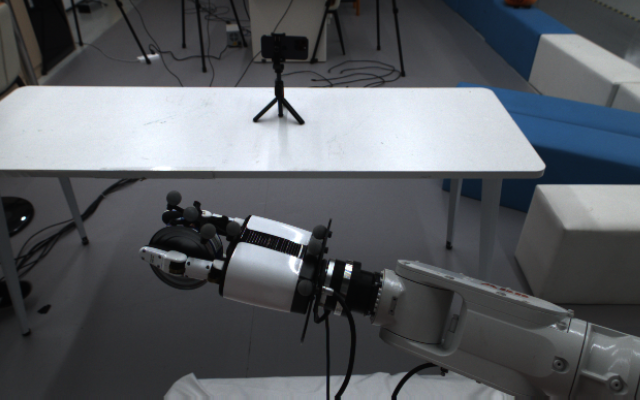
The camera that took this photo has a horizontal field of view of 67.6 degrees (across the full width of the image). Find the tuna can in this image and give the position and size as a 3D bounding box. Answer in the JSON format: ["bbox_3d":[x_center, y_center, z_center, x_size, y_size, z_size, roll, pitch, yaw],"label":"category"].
[{"bbox_3d":[-0.162,0.065,0.596,0.085,0.085,0.034,7,17,7],"label":"tuna can"}]
